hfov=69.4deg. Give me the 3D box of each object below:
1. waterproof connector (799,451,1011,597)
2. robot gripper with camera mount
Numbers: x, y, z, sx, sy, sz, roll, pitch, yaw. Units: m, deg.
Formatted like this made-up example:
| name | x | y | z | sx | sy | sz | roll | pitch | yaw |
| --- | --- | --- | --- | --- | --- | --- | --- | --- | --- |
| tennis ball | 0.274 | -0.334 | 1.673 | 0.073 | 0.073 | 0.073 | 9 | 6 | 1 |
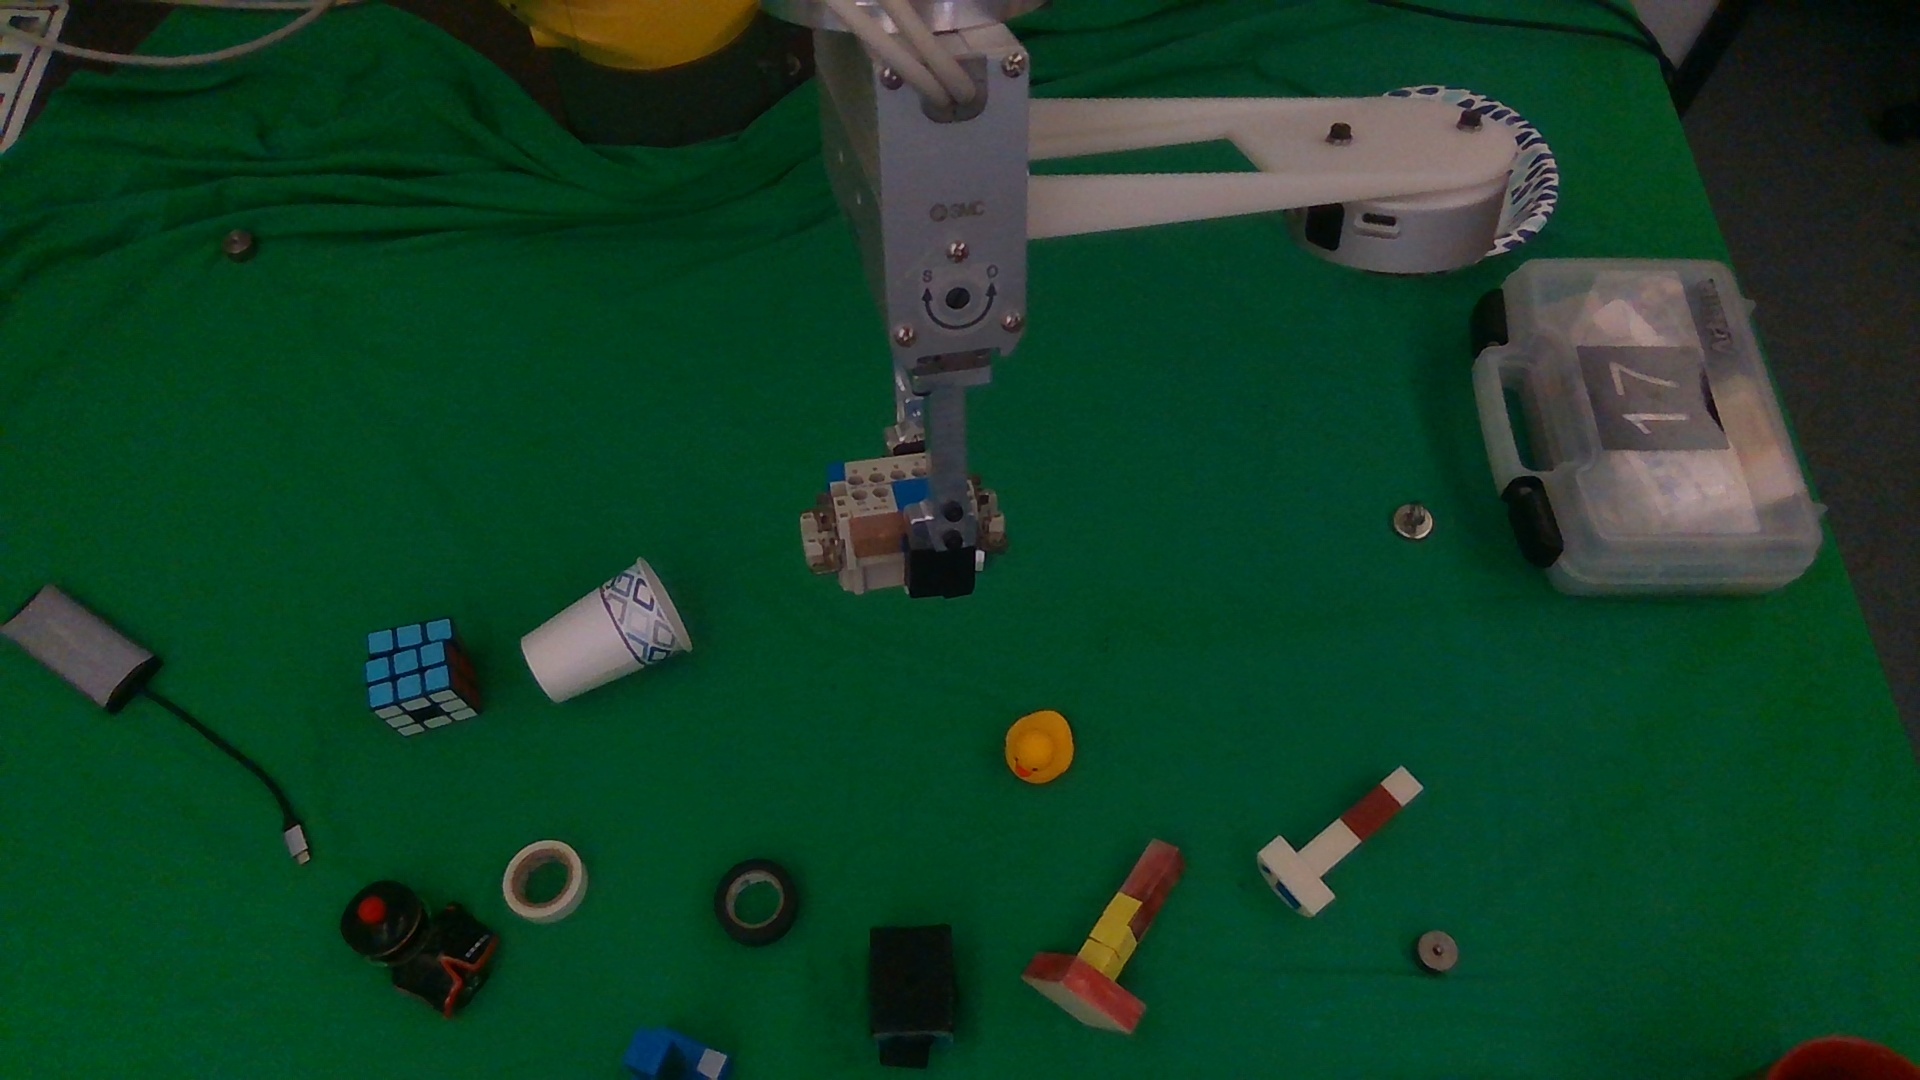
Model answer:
| name | x | y | z | sx | sy | sz | roll | pitch | yaw |
| --- | --- | --- | --- | --- | --- | --- | --- | --- | --- |
| waterproof connector | -0.018 | -0.004 | 0.447 | 0.065 | 0.037 | 0.035 | -10 | 41 | -9 |
| robot gripper with camera mount | 0.060 | -0.078 | 0.426 | 0.193 | 0.158 | 0.119 | -11 | 35 | -13 |
